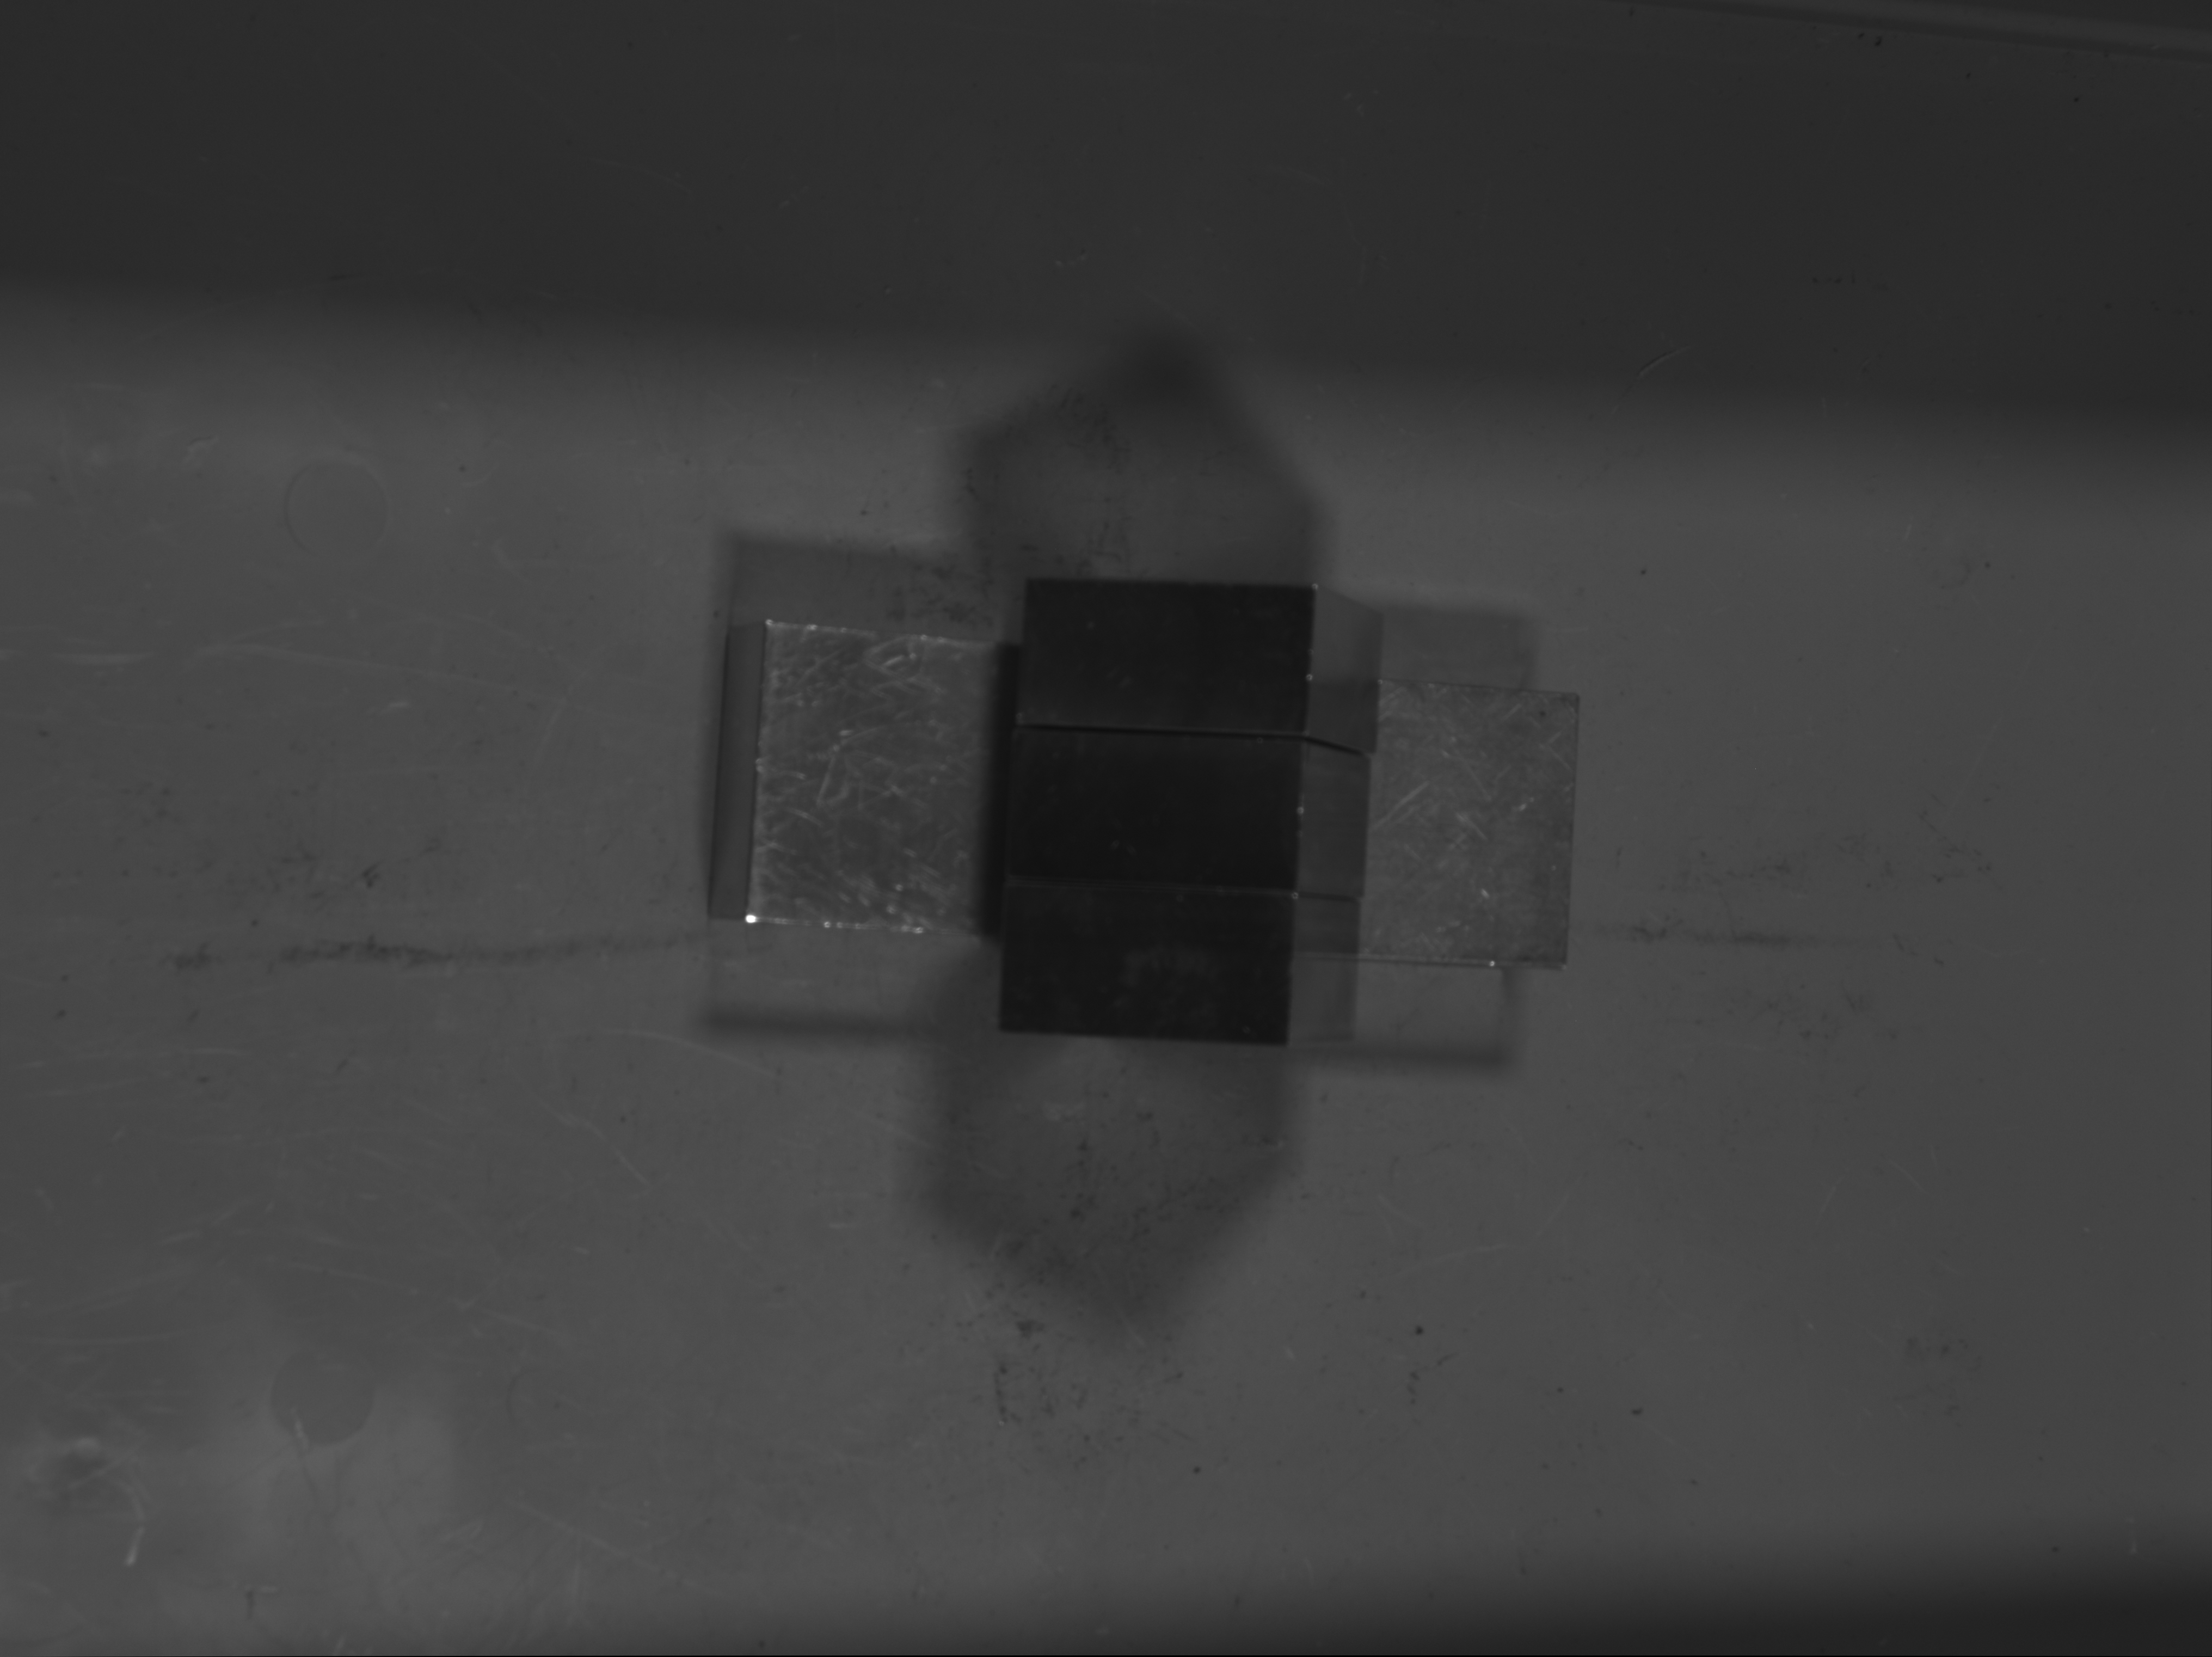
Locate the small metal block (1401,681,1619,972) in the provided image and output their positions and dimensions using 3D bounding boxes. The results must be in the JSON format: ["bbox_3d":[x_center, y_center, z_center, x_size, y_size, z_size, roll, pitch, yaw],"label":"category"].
[{"bbox_3d":[0.064,0.000,0.666,0.050,0.025,0.050,3,89,-20],"label":"small metal block"}]

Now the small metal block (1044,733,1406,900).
[{"bbox_3d":[0.021,-0.002,0.626,0.050,0.050,0.025,2,88,17],"label":"small metal block"}]

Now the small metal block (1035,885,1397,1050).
[{"bbox_3d":[0.020,0.024,0.625,0.050,0.050,0.025,2,88,17],"label":"small metal block"}]

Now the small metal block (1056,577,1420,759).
[{"bbox_3d":[0.023,-0.027,0.626,0.050,0.050,0.025,3,88,17],"label":"small metal block"}]

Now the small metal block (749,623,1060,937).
[{"bbox_3d":[-0.033,-0.008,0.630,0.050,0.025,0.050,4,89,-20],"label":"small metal block"}]
